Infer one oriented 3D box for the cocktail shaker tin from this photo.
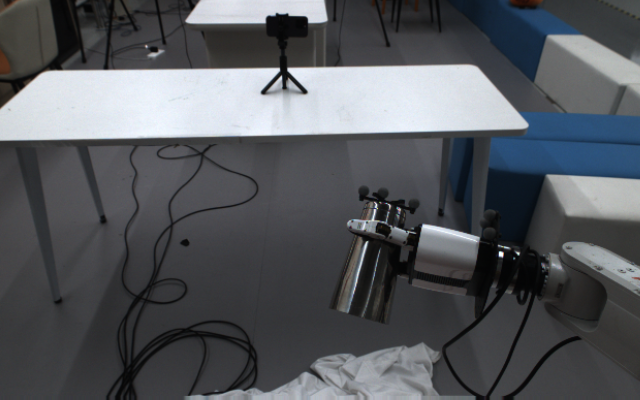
[{"bbox_3d":[0.081,0.090,0.731,0.093,0.093,0.170,13,77,15],"label":"cocktail shaker tin"}]
